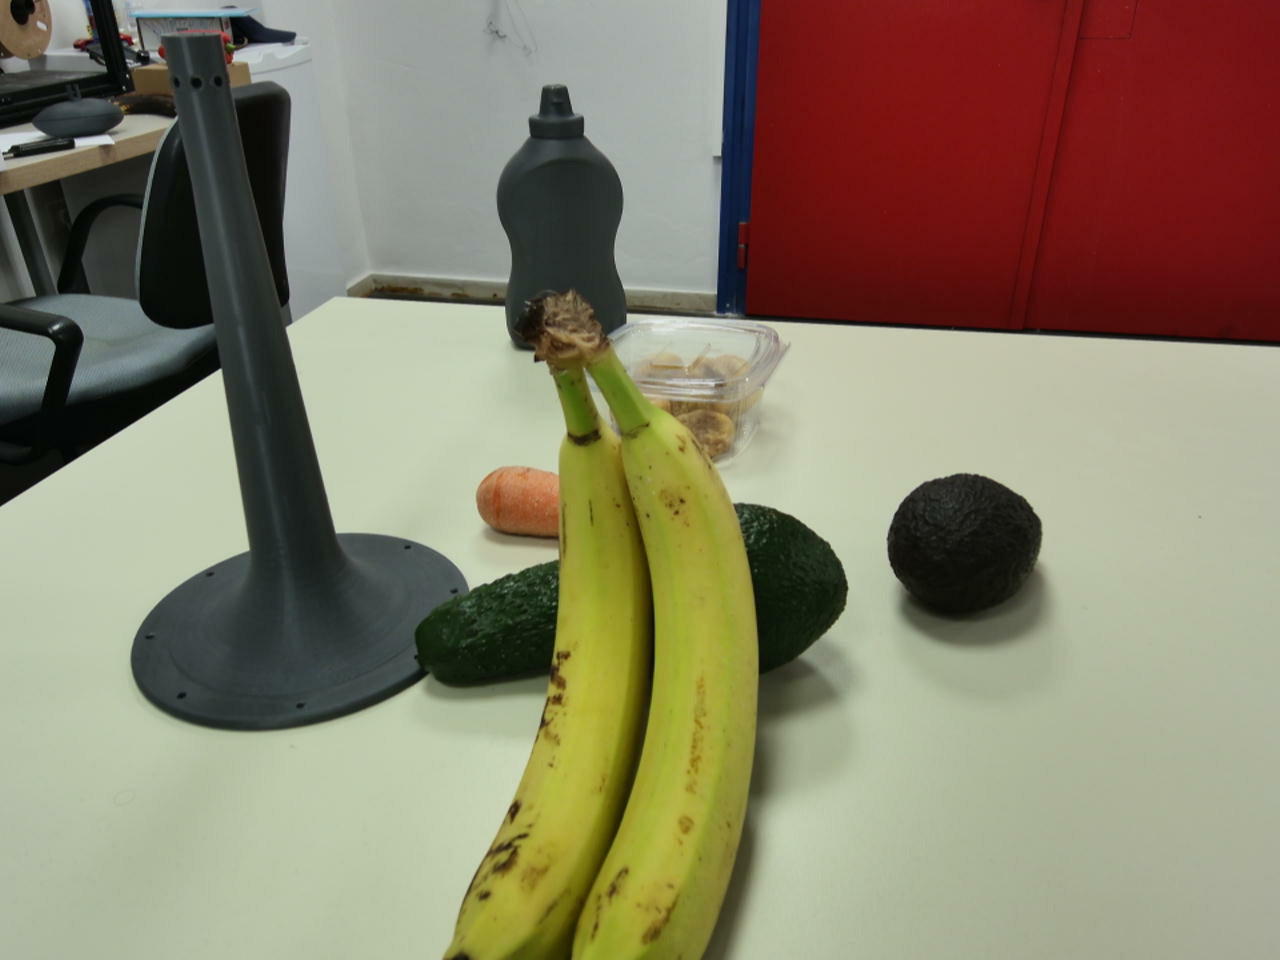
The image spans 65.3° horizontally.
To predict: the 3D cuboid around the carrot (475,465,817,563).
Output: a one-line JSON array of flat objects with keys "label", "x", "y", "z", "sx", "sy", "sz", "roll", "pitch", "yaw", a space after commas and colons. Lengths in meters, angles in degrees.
[{"label": "carrot", "x": 0.001, "y": 0.019, "z": 0.564, "sx": 0.196, "sy": 0.041, "sz": 0.039, "roll": 5, "pitch": 26, "yaw": 11}]
